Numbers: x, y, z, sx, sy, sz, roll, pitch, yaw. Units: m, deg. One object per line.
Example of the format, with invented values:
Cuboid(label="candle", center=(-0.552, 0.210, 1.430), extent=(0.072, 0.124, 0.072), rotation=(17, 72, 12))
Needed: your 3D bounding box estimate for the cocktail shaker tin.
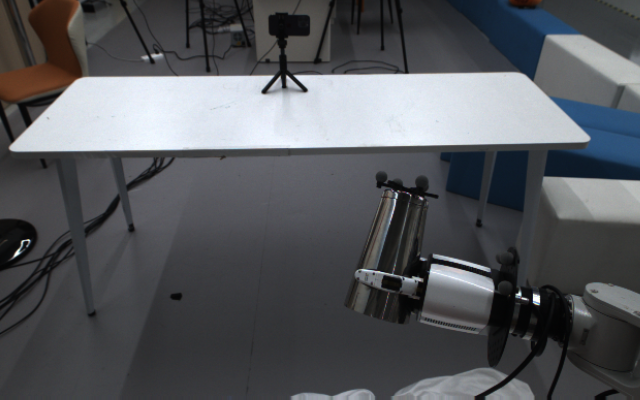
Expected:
Cuboid(label="cocktail shaker tin", center=(0.100, 0.076, 0.677), extent=(0.093, 0.170, 0.093), rotation=(15, -4, 1))
